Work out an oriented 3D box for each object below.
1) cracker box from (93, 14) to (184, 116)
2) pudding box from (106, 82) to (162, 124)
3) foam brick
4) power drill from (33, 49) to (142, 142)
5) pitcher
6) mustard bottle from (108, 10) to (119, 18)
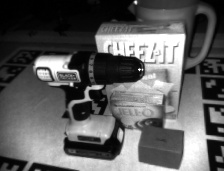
[{"bbox_3d":[0.064,-0.033,0.463,0.163,0.215,0.072,2,39,16],"label":"cracker box"},{"bbox_3d":[0.050,0.038,0.464,0.113,0.091,0.039,3,40,19],"label":"pudding box"},{"bbox_3d":[0.091,0.109,0.424,0.077,0.052,0.053,7,44,18],"label":"foam brick"},{"bbox_3d":[-0.036,0.020,0.392,0.183,0.188,0.057,4,39,15],"label":"power drill"},{"bbox_3d":[0.137,-0.099,0.520,0.187,0.244,0.133,8,43,22],"label":"pitcher"},{"bbox_3d":[0.011,-0.101,0.562,0.095,0.193,0.059,15,47,26],"label":"mustard bottle"}]
